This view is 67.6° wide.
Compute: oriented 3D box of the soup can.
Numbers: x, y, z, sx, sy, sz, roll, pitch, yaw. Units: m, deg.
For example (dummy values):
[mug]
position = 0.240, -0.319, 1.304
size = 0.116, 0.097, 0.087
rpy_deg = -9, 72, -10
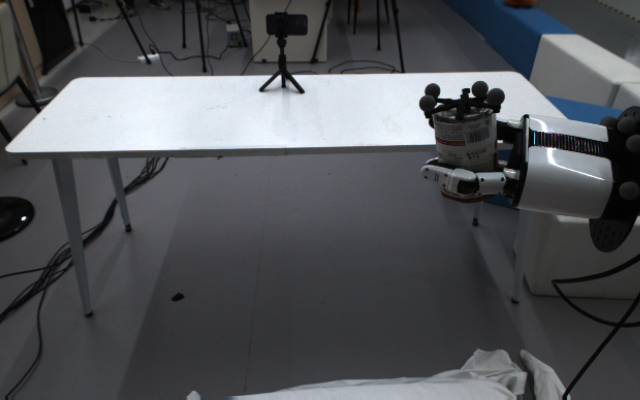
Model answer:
[soup can]
position = 0.169, -0.057, 0.549
size = 0.067, 0.101, 0.067
rpy_deg = -11, 27, 6
